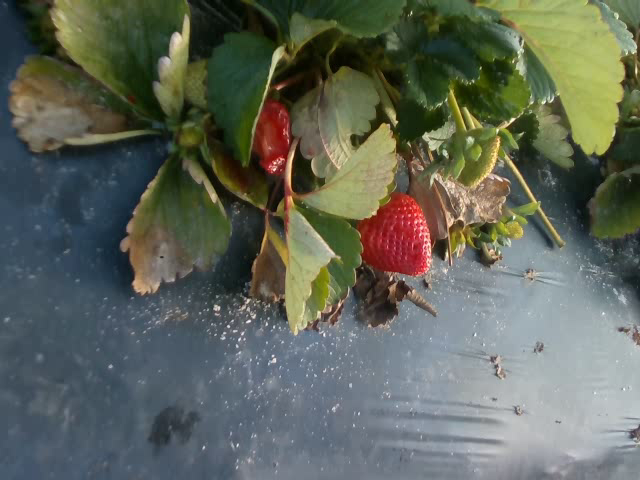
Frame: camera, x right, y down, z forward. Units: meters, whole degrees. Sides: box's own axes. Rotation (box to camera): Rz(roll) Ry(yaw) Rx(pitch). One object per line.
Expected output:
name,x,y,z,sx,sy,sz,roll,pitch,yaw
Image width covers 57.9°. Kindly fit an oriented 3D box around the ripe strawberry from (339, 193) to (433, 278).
ripe strawberry,0.026,0.001,0.198,0.031,0.030,0.026,-31,-10,-21
